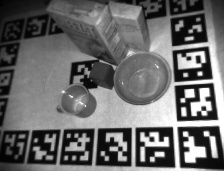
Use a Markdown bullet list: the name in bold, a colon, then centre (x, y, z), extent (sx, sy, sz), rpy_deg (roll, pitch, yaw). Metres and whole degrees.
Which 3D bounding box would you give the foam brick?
- **foam brick**: centre (-0.035, -0.048, 0.651), extent (0.052, 0.079, 0.051), rpy_deg (11, 74, 22)

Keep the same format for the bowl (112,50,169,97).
- **bowl**: centre (0.080, -0.029, 0.604), extent (0.160, 0.056, 0.161), rpy_deg (-5, 71, 16)

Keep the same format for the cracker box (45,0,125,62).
- **cracker box**: centre (-0.069, -0.165, 0.623), extent (0.162, 0.216, 0.072), rpy_deg (26, 79, 24)

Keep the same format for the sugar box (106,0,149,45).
- **sugar box**: centre (0.042, -0.181, 0.613), extent (0.092, 0.178, 0.045), rpy_deg (17, 77, 24)

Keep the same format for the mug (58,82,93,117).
- **mug**: centre (-0.118, 0.044, 0.635), extent (0.116, 0.082, 0.093), rpy_deg (-14, 59, 15)
